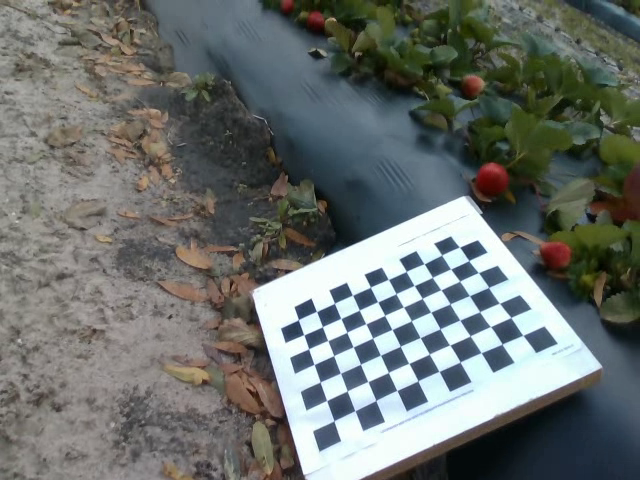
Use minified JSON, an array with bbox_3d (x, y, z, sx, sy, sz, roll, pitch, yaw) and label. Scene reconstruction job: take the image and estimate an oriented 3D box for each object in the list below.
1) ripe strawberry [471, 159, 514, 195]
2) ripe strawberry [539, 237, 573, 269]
[{"bbox_3d":[0.234,-0.081,0.802,0.046,0.043,0.065,-21,-7,5],"label":"ripe strawberry"},{"bbox_3d":[0.272,0.020,0.692,0.042,0.041,0.037,20,-51,-27],"label":"ripe strawberry"}]
